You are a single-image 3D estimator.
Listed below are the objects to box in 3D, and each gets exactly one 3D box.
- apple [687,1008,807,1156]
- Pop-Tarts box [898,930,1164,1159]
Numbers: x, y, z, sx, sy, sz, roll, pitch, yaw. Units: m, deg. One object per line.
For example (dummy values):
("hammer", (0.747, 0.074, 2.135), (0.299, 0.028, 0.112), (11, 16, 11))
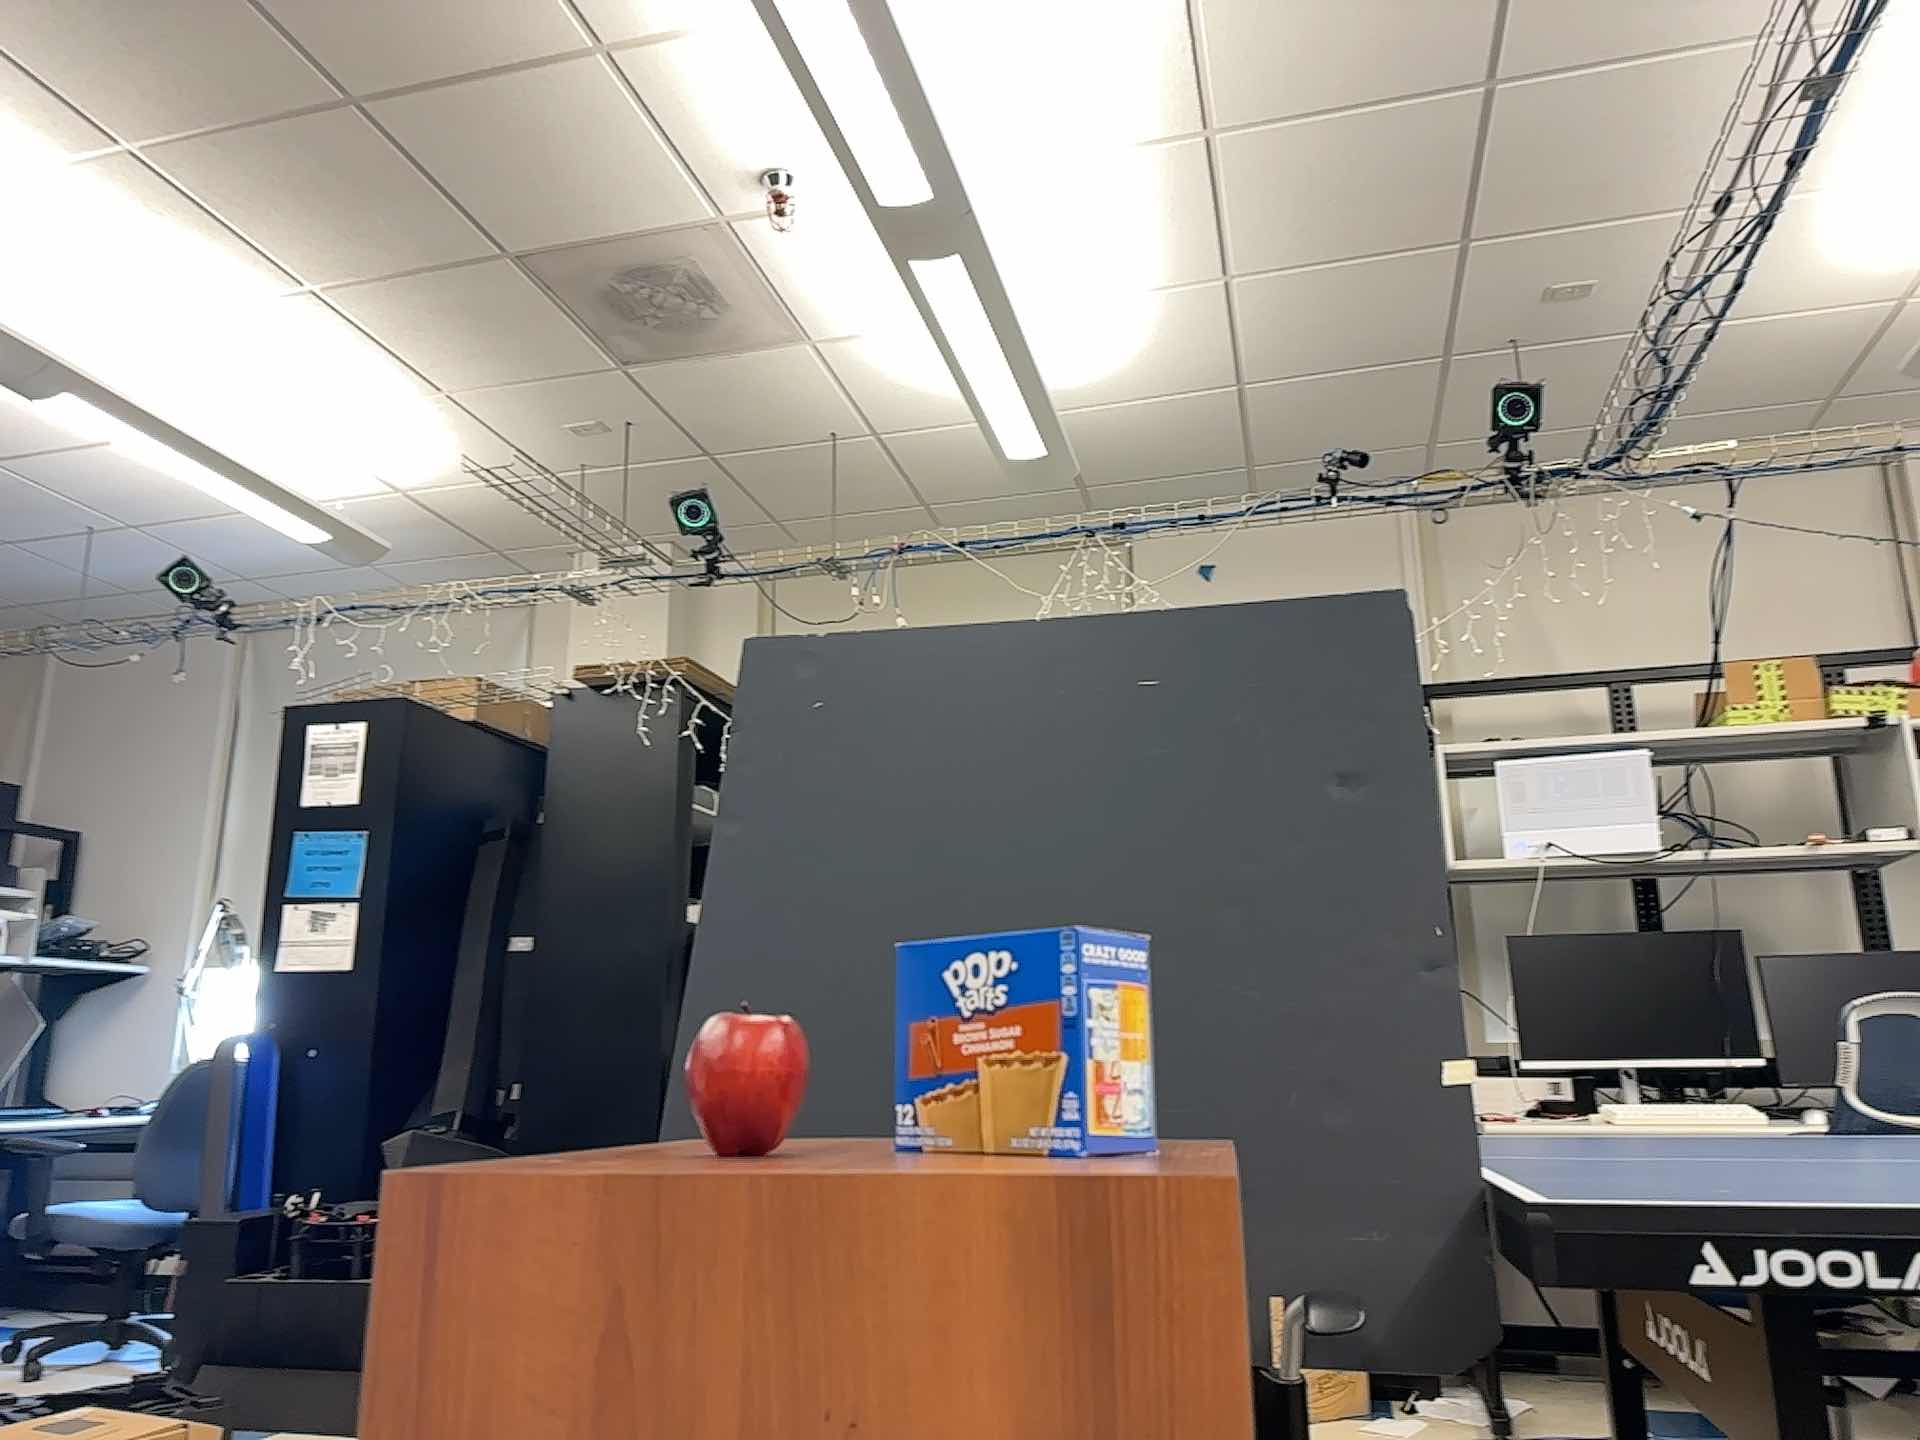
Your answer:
("apple", (-0.143, 0.238, 0.886), (0.079, 0.093, 0.079), (0, -14, 0))
("Pop-Tarts box", (0.043, 0.221, 0.907), (0.161, 0.135, 0.075), (-14, -21, 41))
